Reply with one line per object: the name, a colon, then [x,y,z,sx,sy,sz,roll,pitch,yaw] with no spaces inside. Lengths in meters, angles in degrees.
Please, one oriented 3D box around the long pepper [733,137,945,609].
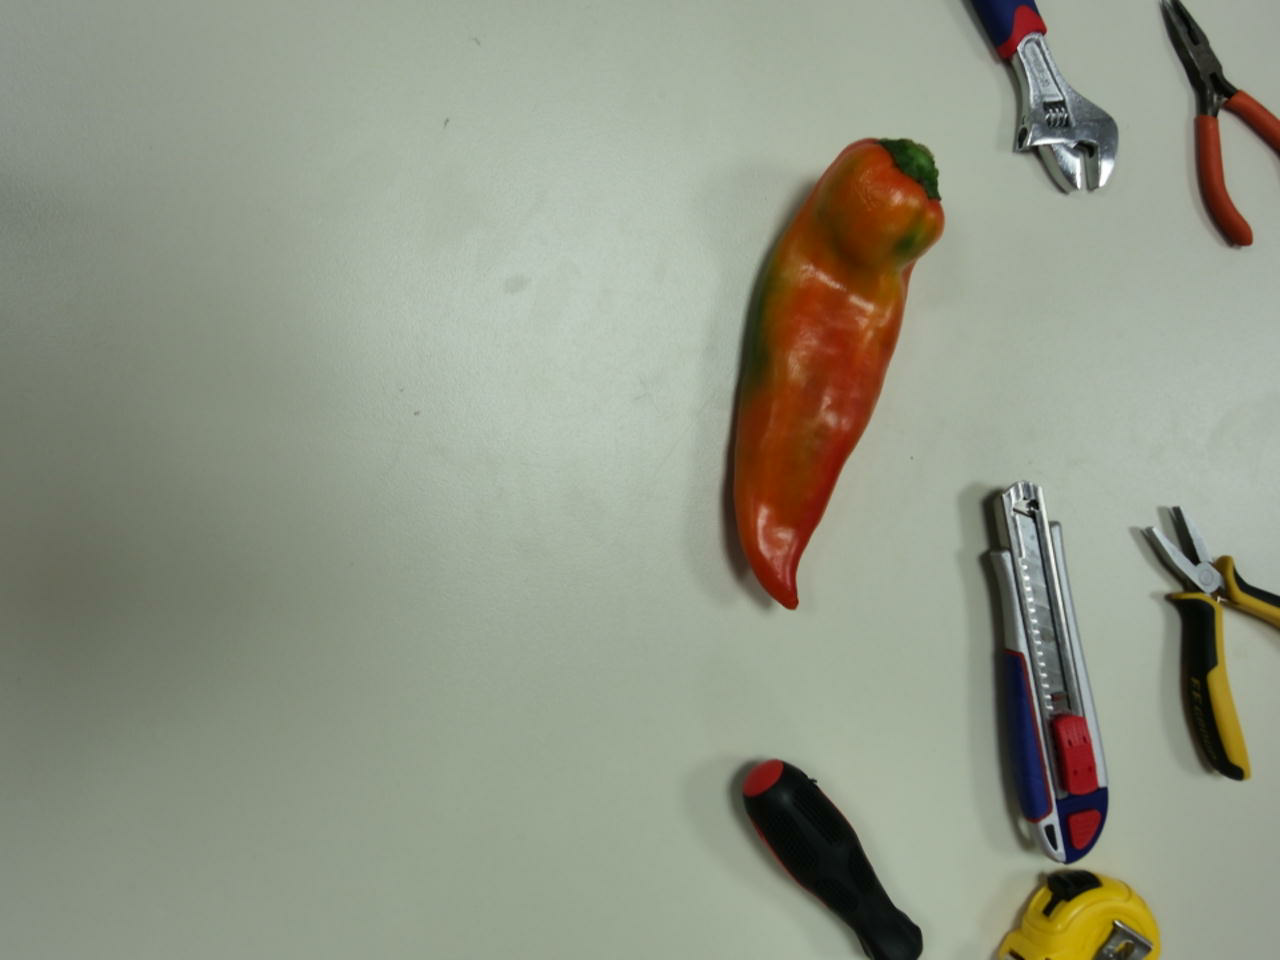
long pepper: [0.080,-0.045,0.420,0.066,0.065,0.199,15,88,-11]
